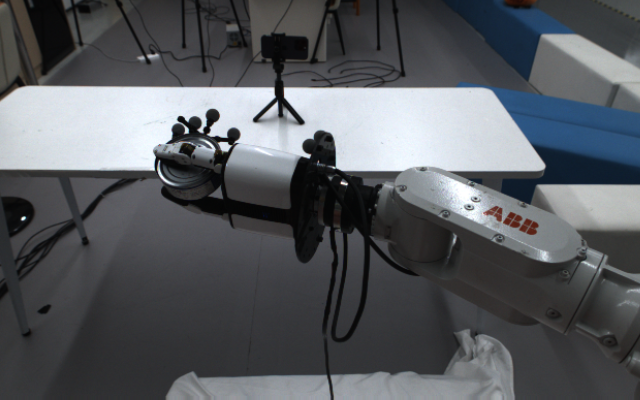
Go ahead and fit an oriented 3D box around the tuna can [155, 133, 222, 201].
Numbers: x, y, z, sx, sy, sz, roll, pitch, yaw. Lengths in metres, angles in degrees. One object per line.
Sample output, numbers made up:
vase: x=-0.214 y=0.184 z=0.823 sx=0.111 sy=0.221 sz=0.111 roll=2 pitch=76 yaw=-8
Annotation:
tuna can: x=-0.165 y=-0.043 z=0.622 sx=0.085 sy=0.034 sz=0.085 roll=-3 pitch=57 yaw=4
